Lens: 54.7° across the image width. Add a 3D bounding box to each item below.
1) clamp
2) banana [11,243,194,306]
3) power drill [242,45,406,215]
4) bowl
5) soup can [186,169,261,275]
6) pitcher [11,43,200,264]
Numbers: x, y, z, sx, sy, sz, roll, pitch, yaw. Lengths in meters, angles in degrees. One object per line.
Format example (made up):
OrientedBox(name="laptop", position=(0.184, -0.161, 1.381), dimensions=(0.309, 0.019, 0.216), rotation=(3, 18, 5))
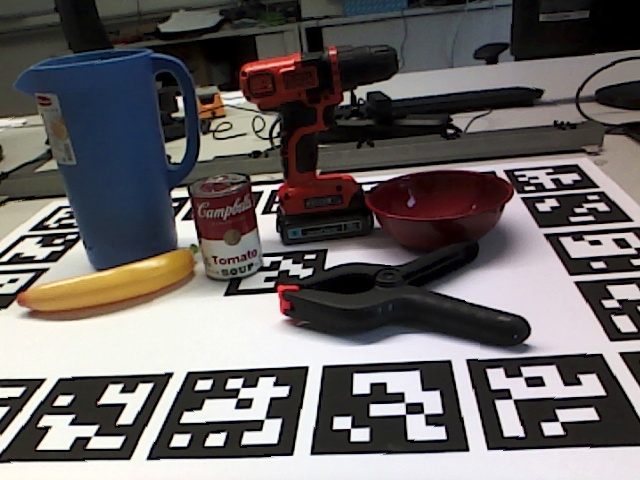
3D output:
OrientedBox(name="clamp", position=(0.058, 0.040, 0.561), dimensions=(0.203, 0.036, 0.166), rotation=(-6, 30, 4))
OrientedBox(name="banana", position=(-0.226, 0.040, 0.661), dimensions=(0.197, 0.039, 0.074), rotation=(-14, 18, -17))
OrientedBox(name="power drill", position=(0.012, -0.129, 0.724), dimensions=(0.184, 0.186, 0.057), rotation=(-6, 26, 2))
OrientedBox(name="bowl", position=(0.126, -0.037, 0.695), dimensions=(0.162, 0.055, 0.162), rotation=(-7, 27, 3))
OrientedBox(name="soup can", position=(-0.104, -0.021, 0.678), dimensions=(0.068, 0.102, 0.068), rotation=(-7, 17, 2))
OrientedBox(name="pitcher", position=(-0.228, -0.102, 0.717), dimensions=(0.188, 0.242, 0.134), rotation=(-15, 23, -15))
